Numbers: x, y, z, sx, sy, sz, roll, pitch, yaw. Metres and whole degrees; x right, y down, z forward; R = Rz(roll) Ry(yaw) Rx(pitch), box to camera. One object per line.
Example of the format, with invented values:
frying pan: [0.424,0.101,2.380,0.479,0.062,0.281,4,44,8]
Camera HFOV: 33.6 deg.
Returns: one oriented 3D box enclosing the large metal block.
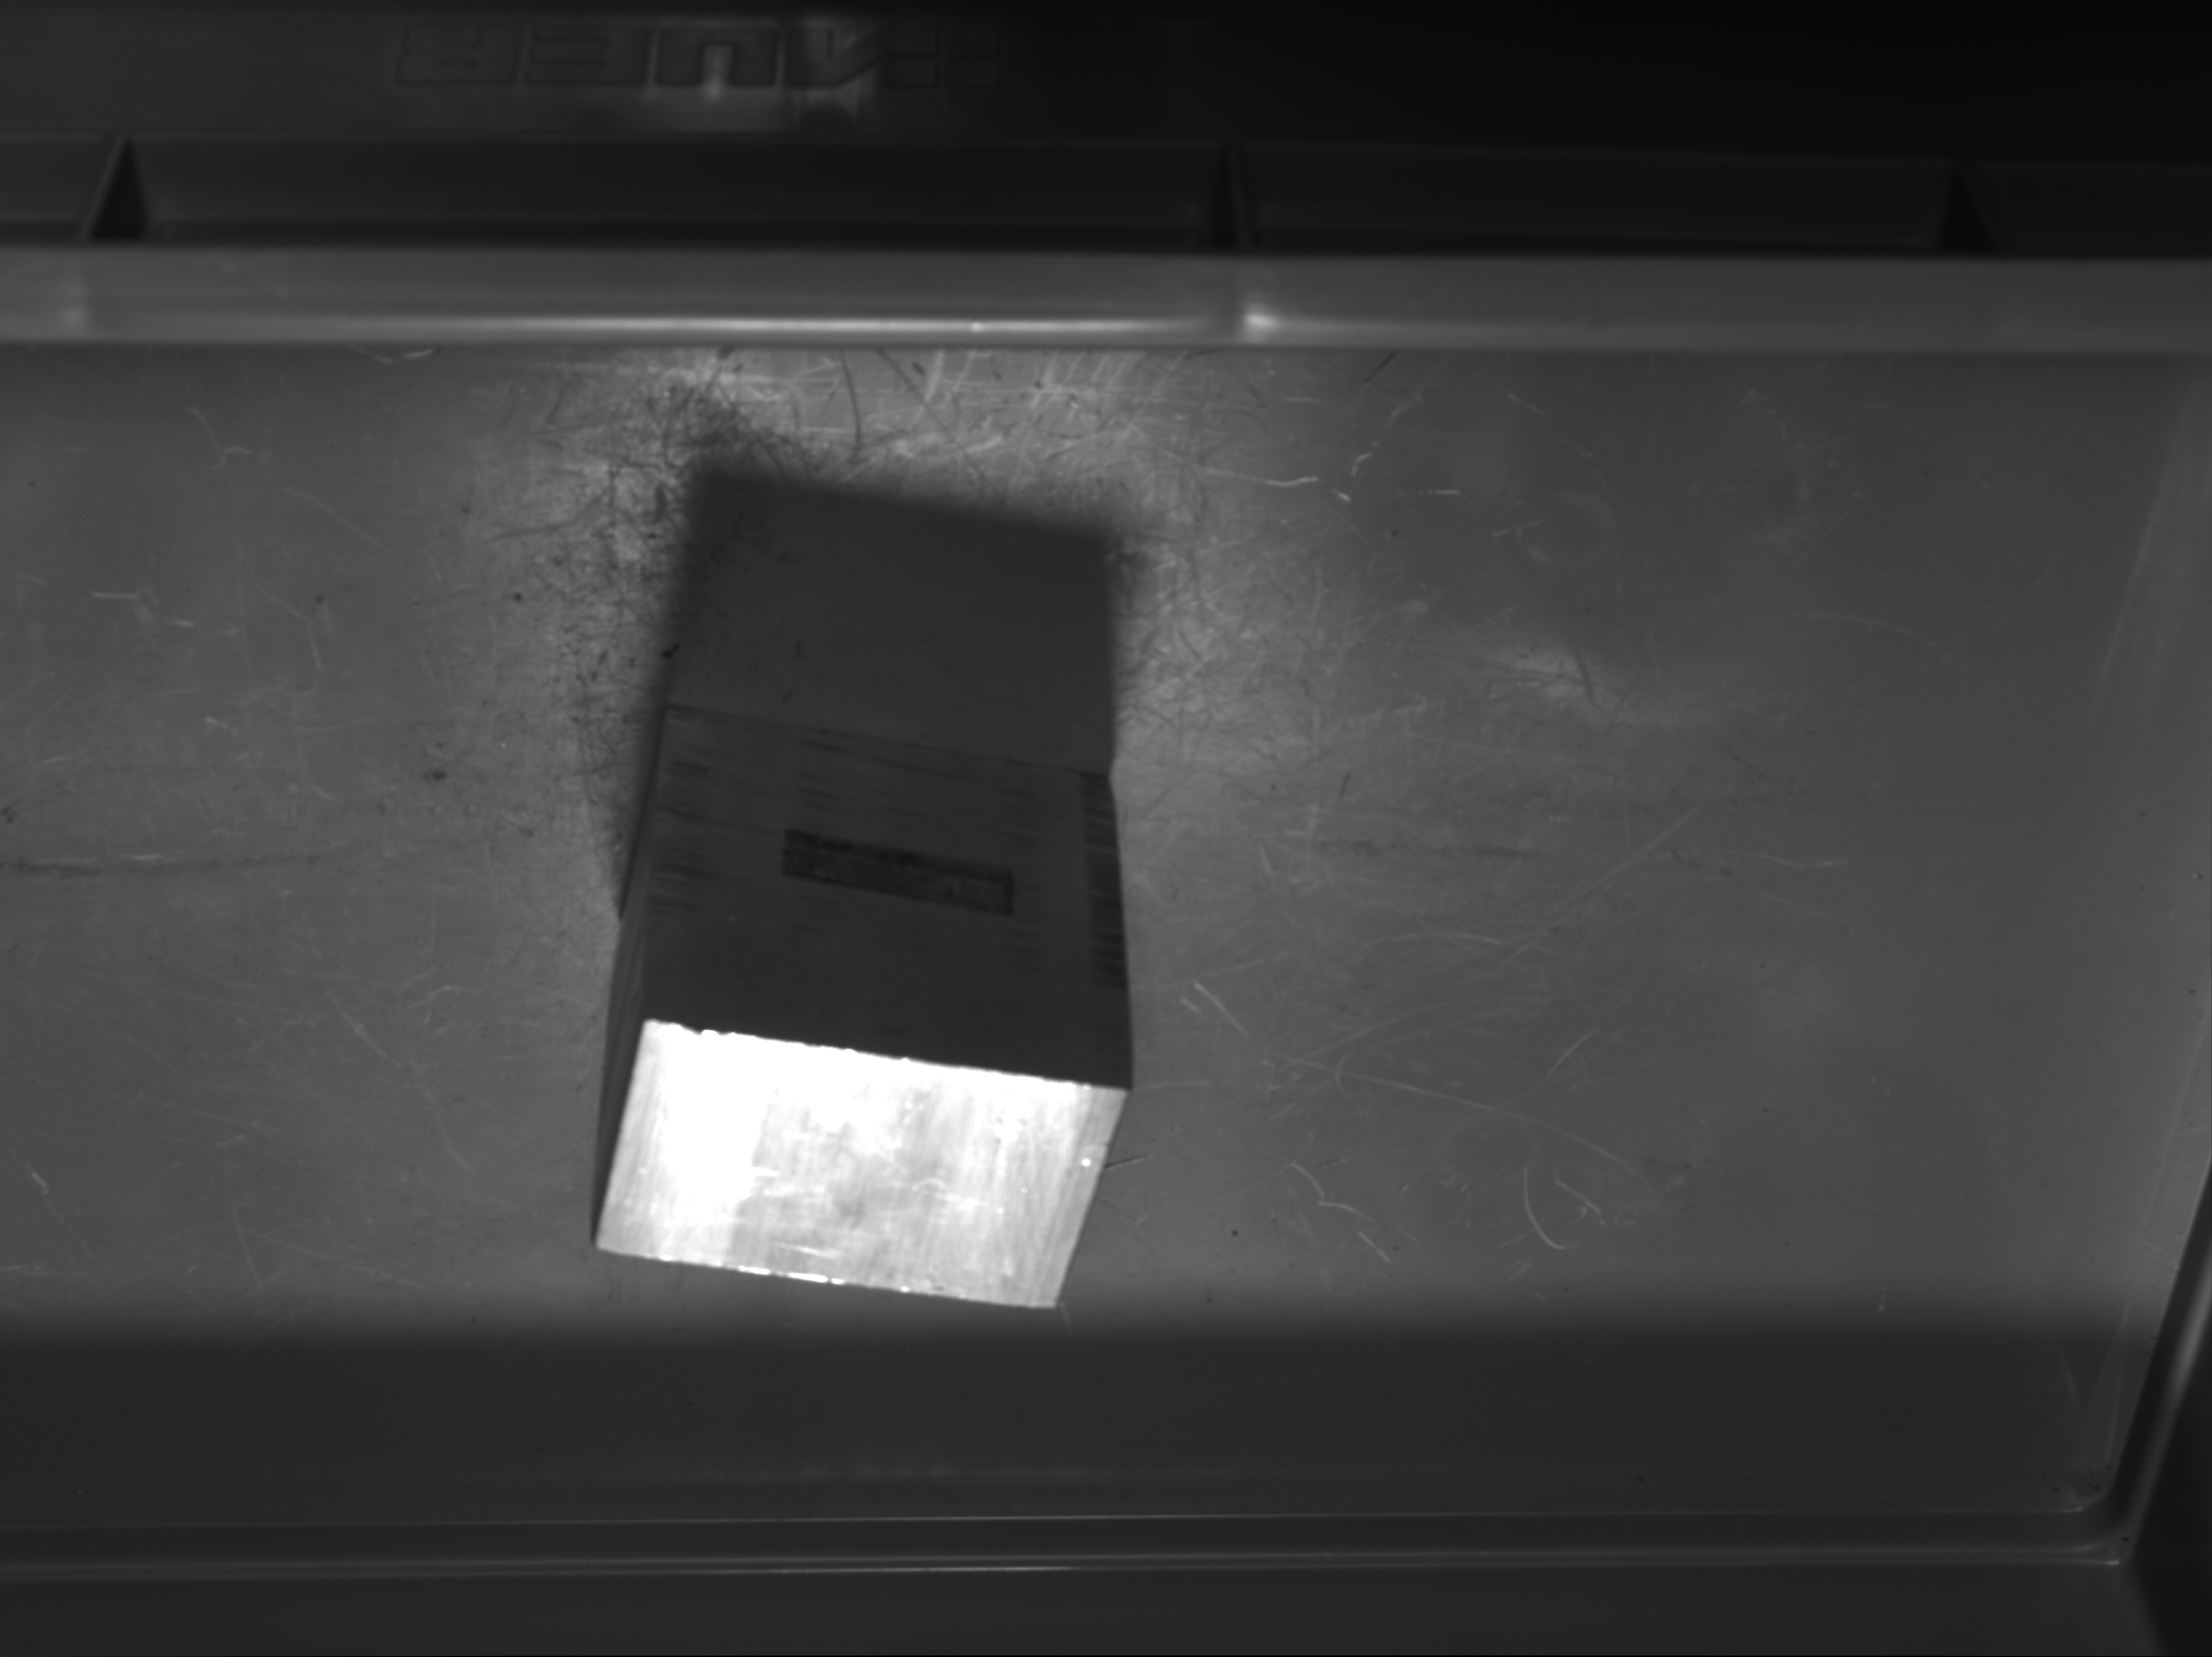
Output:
large metal block: [-0.033,0.031,0.625,0.080,0.080,0.050,10,129,-10]
